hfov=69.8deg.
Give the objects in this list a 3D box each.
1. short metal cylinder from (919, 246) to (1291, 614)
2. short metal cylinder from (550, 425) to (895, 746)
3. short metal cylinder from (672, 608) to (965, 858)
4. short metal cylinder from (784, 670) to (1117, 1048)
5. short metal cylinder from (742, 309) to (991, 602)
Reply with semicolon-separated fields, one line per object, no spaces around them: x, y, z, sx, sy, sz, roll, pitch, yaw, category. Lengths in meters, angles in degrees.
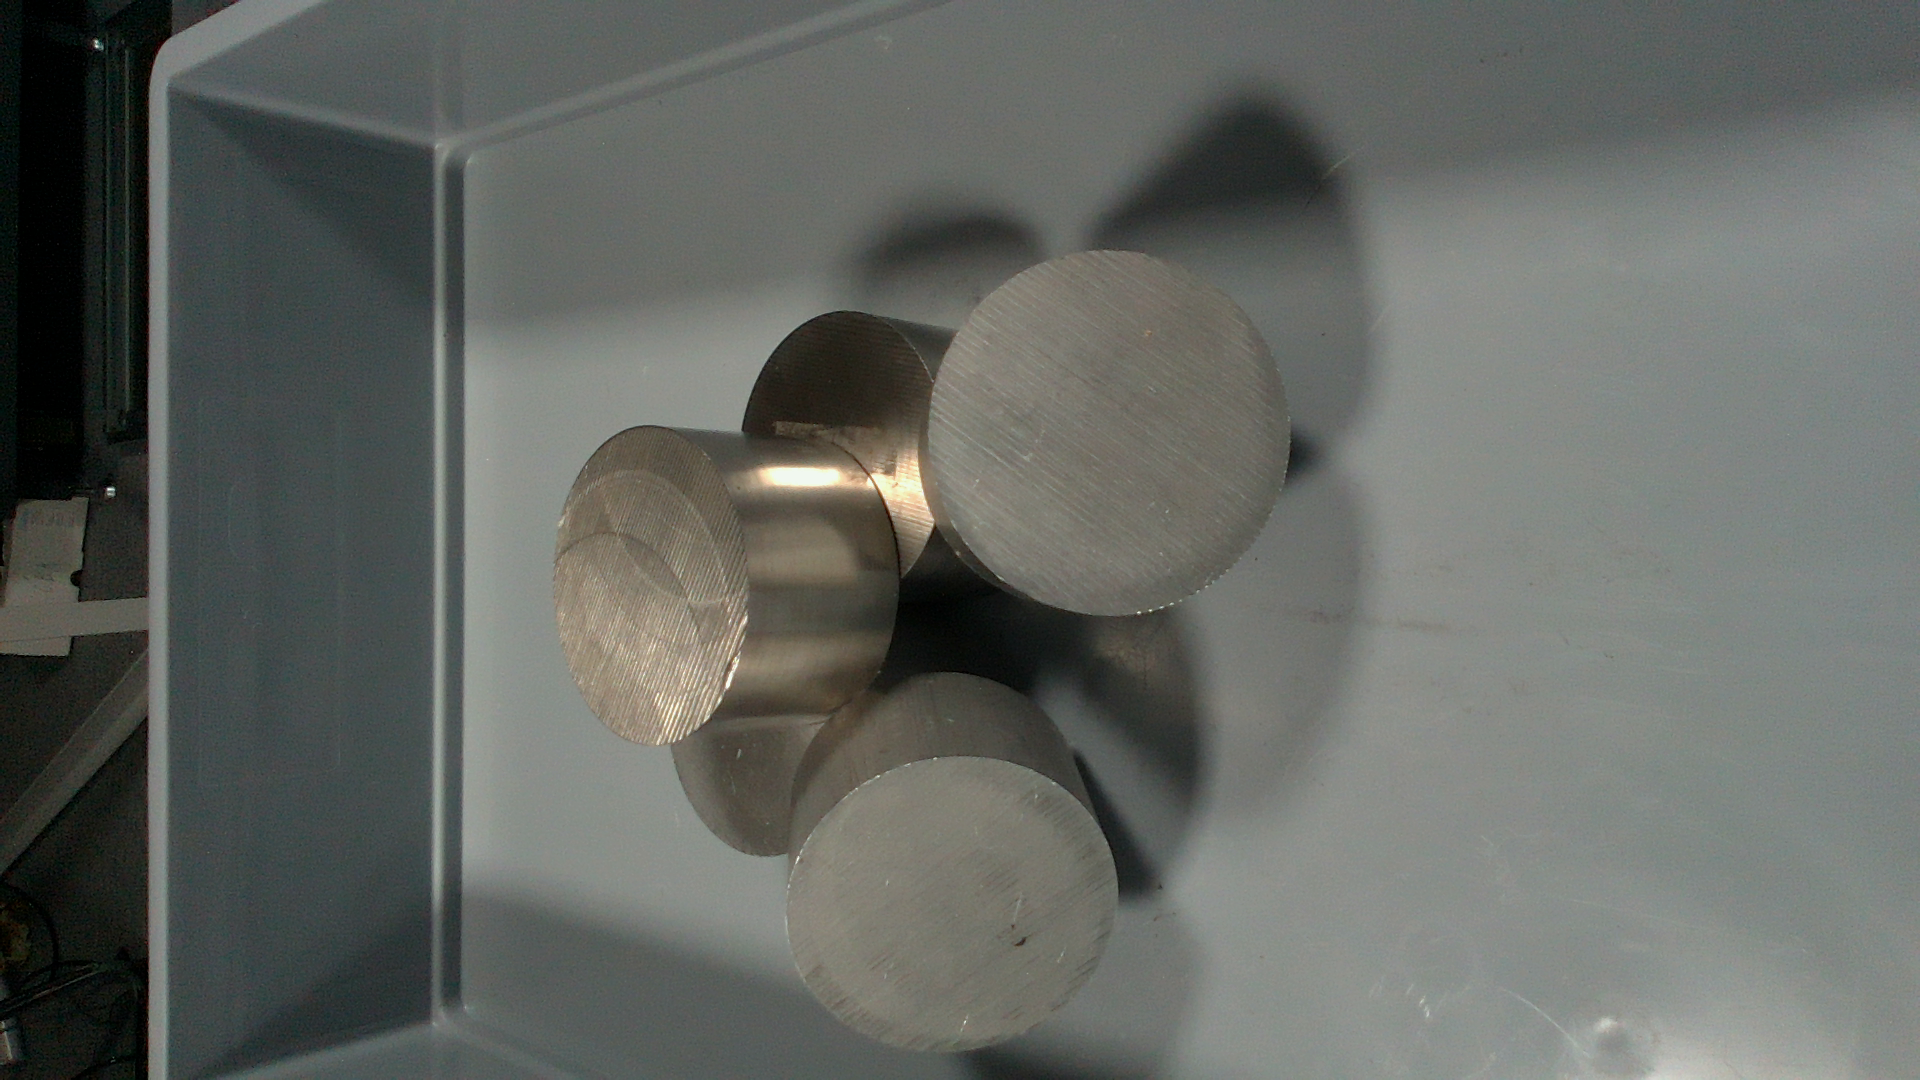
0.031;-0.023;0.324;0.080;0.050;0.080;0;89;-4;short metal cylinder
-0.063;0.011;0.363;0.080;0.050;0.080;0;90;40;short metal cylinder
-0.043;0.051;0.414;0.080;0.050;0.080;0;90;40;short metal cylinder
-0.004;0.080;0.352;0.050;0.080;0.080;-111;37;-71;short metal cylinder
-0.018;-0.022;0.391;0.080;0.050;0.080;0;90;40;short metal cylinder
